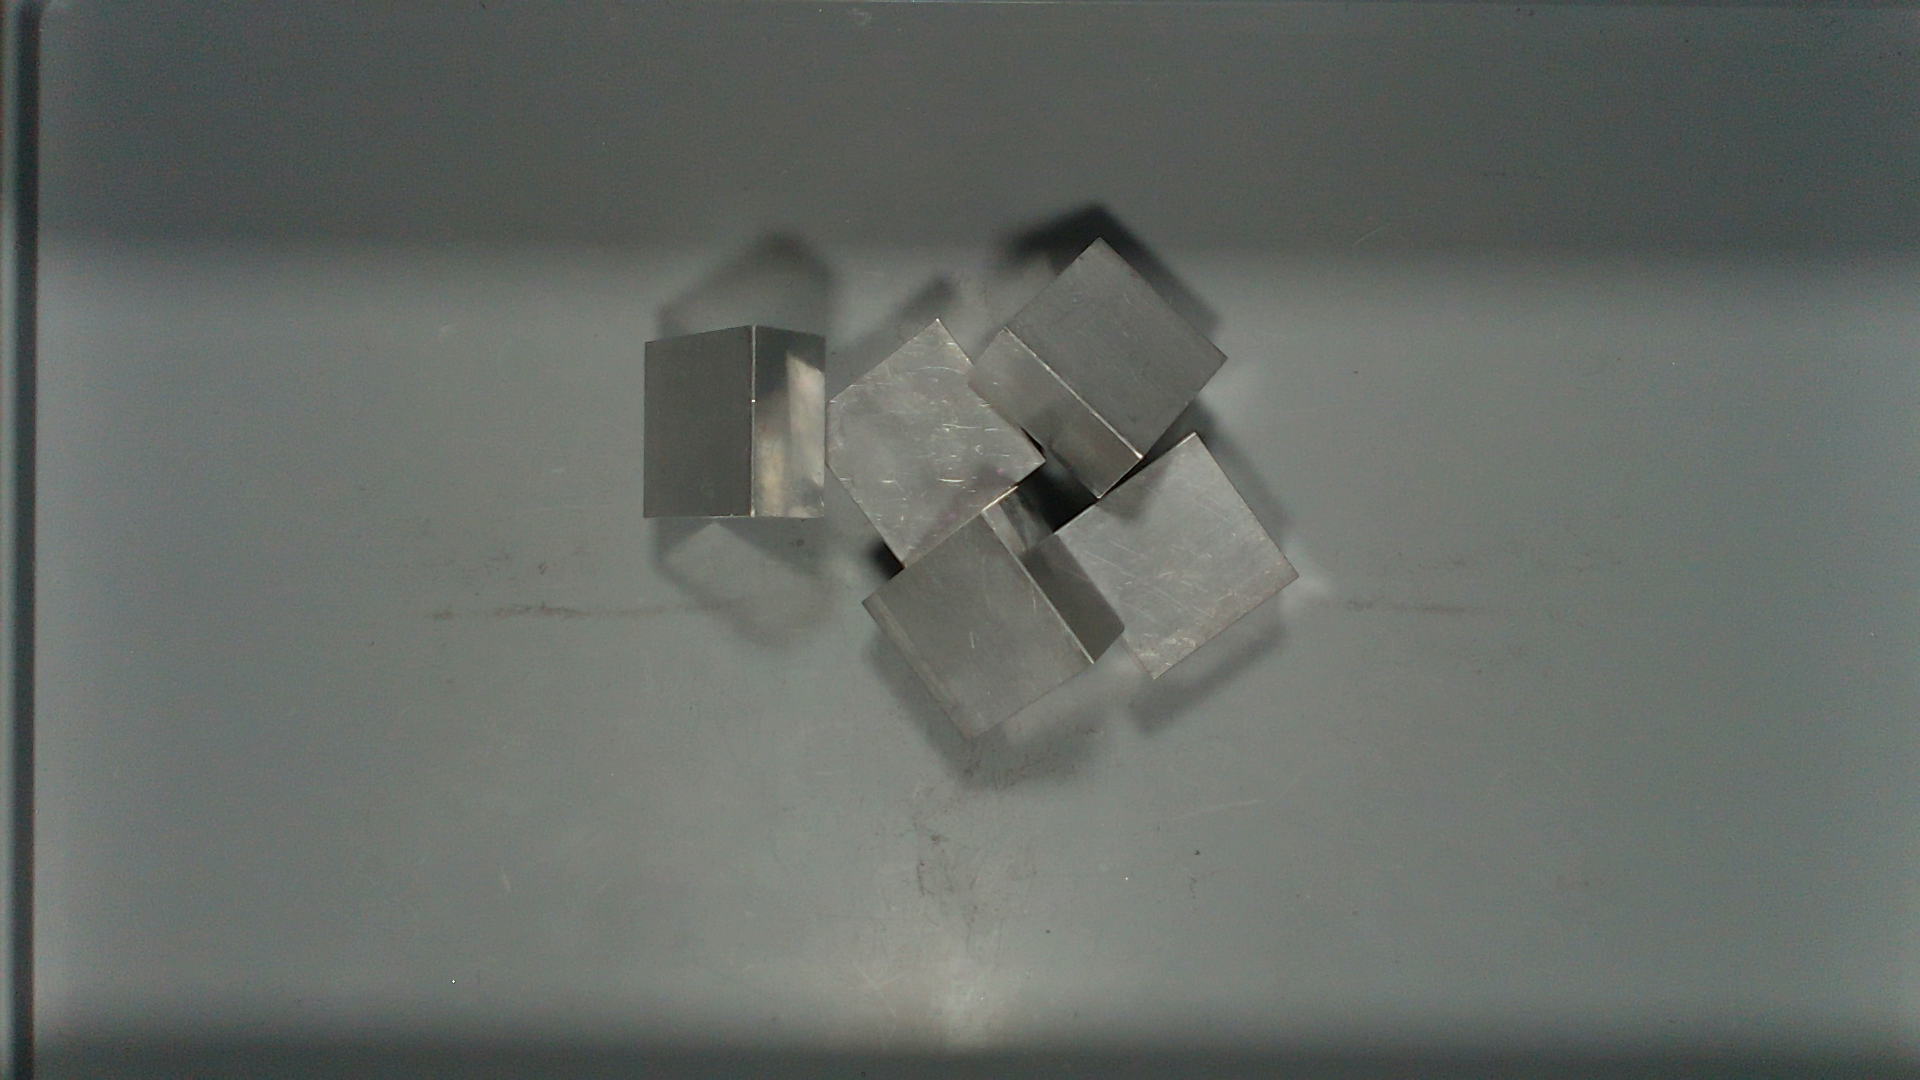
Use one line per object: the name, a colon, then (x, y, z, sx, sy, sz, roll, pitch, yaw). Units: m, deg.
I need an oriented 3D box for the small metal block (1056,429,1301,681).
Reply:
small metal block: (0.060, 0.004, 0.394, 0.050, 0.025, 0.050, -36, 90, 0)

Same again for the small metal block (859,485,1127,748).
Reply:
small metal block: (0.009, 0.021, 0.383, 0.050, 0.025, 0.050, -37, 90, 32)

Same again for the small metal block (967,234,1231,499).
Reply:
small metal block: (0.039, -0.049, 0.383, 0.050, 0.025, 0.050, 43, 55, 0)

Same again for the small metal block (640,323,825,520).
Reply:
small metal block: (-0.063, -0.031, 0.380, 0.050, 0.025, 0.050, 0, 90, 44)

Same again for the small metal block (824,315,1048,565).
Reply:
small metal block: (-0.011, -0.027, 0.394, 0.050, 0.025, 0.050, -38, 90, 0)
